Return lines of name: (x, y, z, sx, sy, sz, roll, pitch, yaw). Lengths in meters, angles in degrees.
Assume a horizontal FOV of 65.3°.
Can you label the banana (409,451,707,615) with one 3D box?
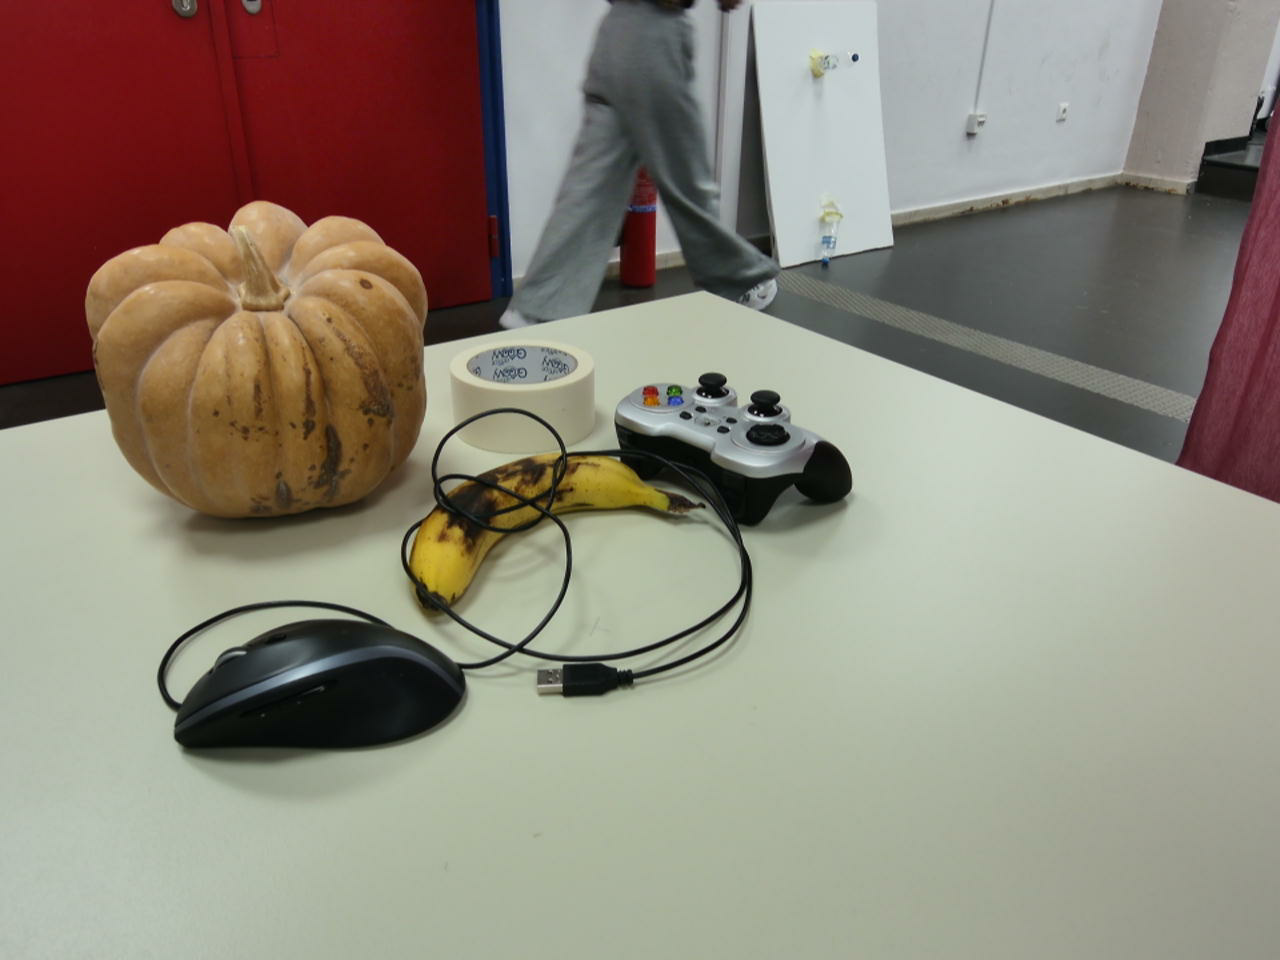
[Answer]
banana: (-0.063, 0.019, 0.587, 0.187, 0.039, 0.094, -19, 32, -35)
